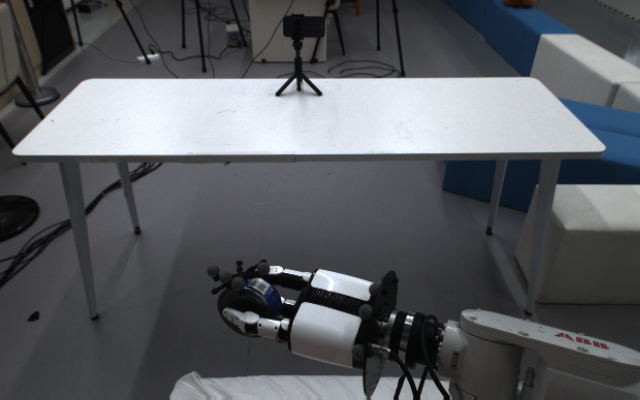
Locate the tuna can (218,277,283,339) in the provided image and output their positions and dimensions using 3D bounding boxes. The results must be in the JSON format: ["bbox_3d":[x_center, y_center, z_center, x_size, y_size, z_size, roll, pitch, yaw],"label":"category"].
[{"bbox_3d":[-0.094,0.151,0.667,0.085,0.085,0.034,13,28,15],"label":"tuna can"}]
